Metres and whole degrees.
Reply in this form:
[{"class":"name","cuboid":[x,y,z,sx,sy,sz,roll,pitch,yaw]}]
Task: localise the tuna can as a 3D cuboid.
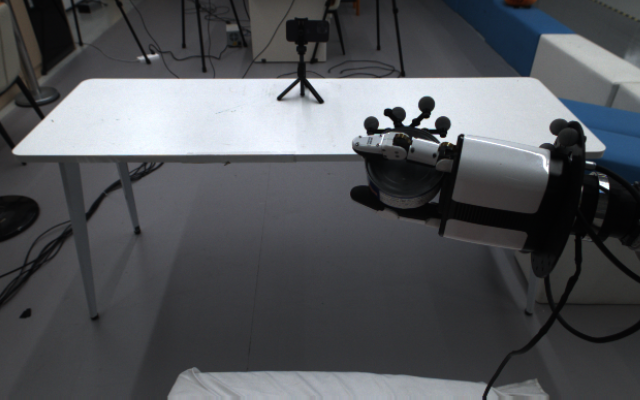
[{"class":"tuna can","cuboid":[0.093,-0.036,0.525,0.085,0.034,0.085,-4,61,7]}]
